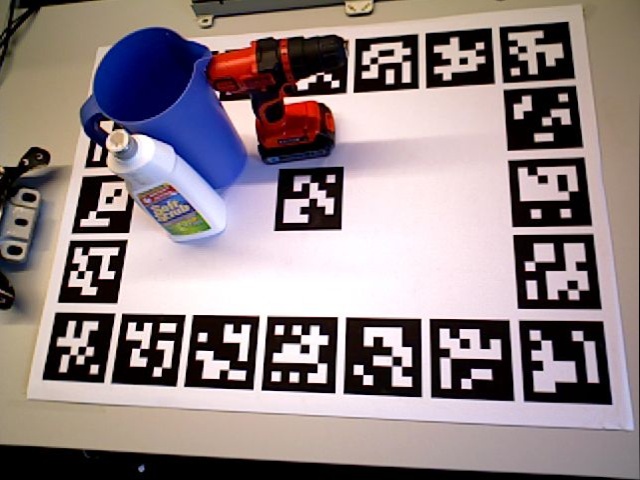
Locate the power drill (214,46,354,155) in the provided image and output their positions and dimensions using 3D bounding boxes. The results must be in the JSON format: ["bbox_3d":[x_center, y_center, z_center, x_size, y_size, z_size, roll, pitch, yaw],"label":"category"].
[{"bbox_3d":[-0.030,-0.180,0.711,0.184,0.188,0.057,-5,73,3],"label":"power drill"}]

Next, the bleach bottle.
[{"bbox_3d":[-0.214,-0.071,0.684,0.103,0.252,0.067,-9,70,8],"label":"bleach bottle"}]

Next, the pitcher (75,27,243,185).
[{"bbox_3d":[-0.197,-0.161,0.729,0.189,0.244,0.133,-27,71,1],"label":"pitcher"}]
